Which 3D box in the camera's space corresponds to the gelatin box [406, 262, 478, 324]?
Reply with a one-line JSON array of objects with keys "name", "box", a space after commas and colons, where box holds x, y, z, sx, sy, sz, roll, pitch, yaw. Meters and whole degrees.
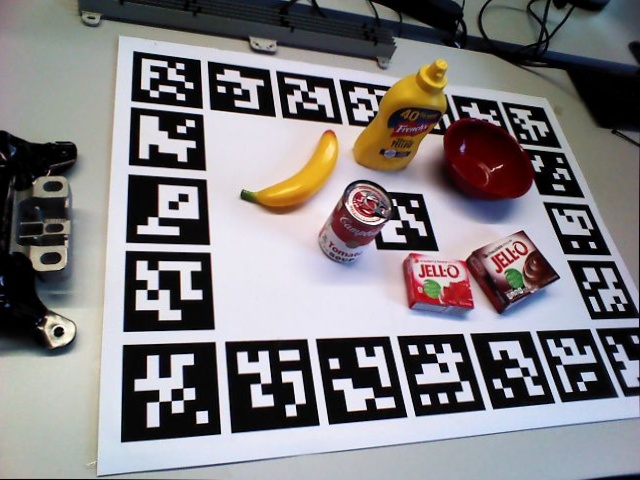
[{"name": "gelatin box", "box": [0.165, 0.072, 0.703, 0.089, 0.030, 0.073, 8, 61, -15]}]

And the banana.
[{"name": "banana", "box": [-0.025, -0.102, 0.736, 0.074, 0.039, 0.196, 32, 54, 13]}]

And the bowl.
[{"name": "bowl", "box": [0.274, -0.115, 0.845, 0.161, 0.055, 0.160, 8, 57, -13]}]

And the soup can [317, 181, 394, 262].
[{"name": "soup can", "box": [0.042, -0.025, 0.663, 0.068, 0.103, 0.067, 11, 55, -16]}]

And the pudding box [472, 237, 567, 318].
[{"name": "pudding box", "box": [0.291, 0.050, 0.756, 0.113, 0.039, 0.090, -22, 75, -29]}]

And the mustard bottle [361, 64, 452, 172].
[{"name": "mustard bottle", "box": [0.135, -0.177, 0.732, 0.096, 0.193, 0.058, 2, 57, -19]}]
